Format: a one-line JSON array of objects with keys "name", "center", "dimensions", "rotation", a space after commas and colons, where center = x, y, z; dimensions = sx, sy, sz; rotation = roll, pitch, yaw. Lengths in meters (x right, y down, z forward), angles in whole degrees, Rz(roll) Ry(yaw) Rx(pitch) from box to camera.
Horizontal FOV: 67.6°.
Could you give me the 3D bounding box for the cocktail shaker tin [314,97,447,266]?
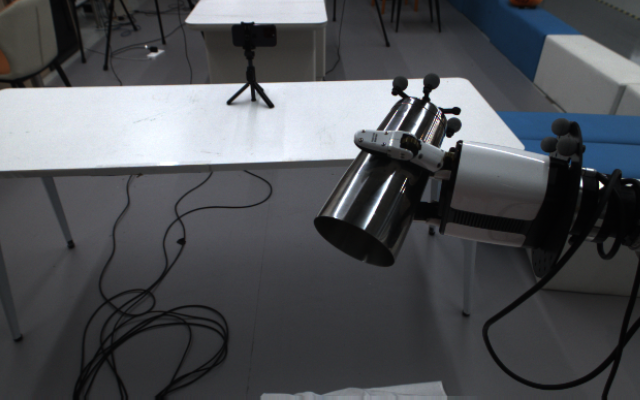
[{"name": "cocktail shaker tin", "center": [0.076, -0.028, 0.517], "dimensions": [0.093, 0.093, 0.170], "rotation": [20, 67, 24]}]
